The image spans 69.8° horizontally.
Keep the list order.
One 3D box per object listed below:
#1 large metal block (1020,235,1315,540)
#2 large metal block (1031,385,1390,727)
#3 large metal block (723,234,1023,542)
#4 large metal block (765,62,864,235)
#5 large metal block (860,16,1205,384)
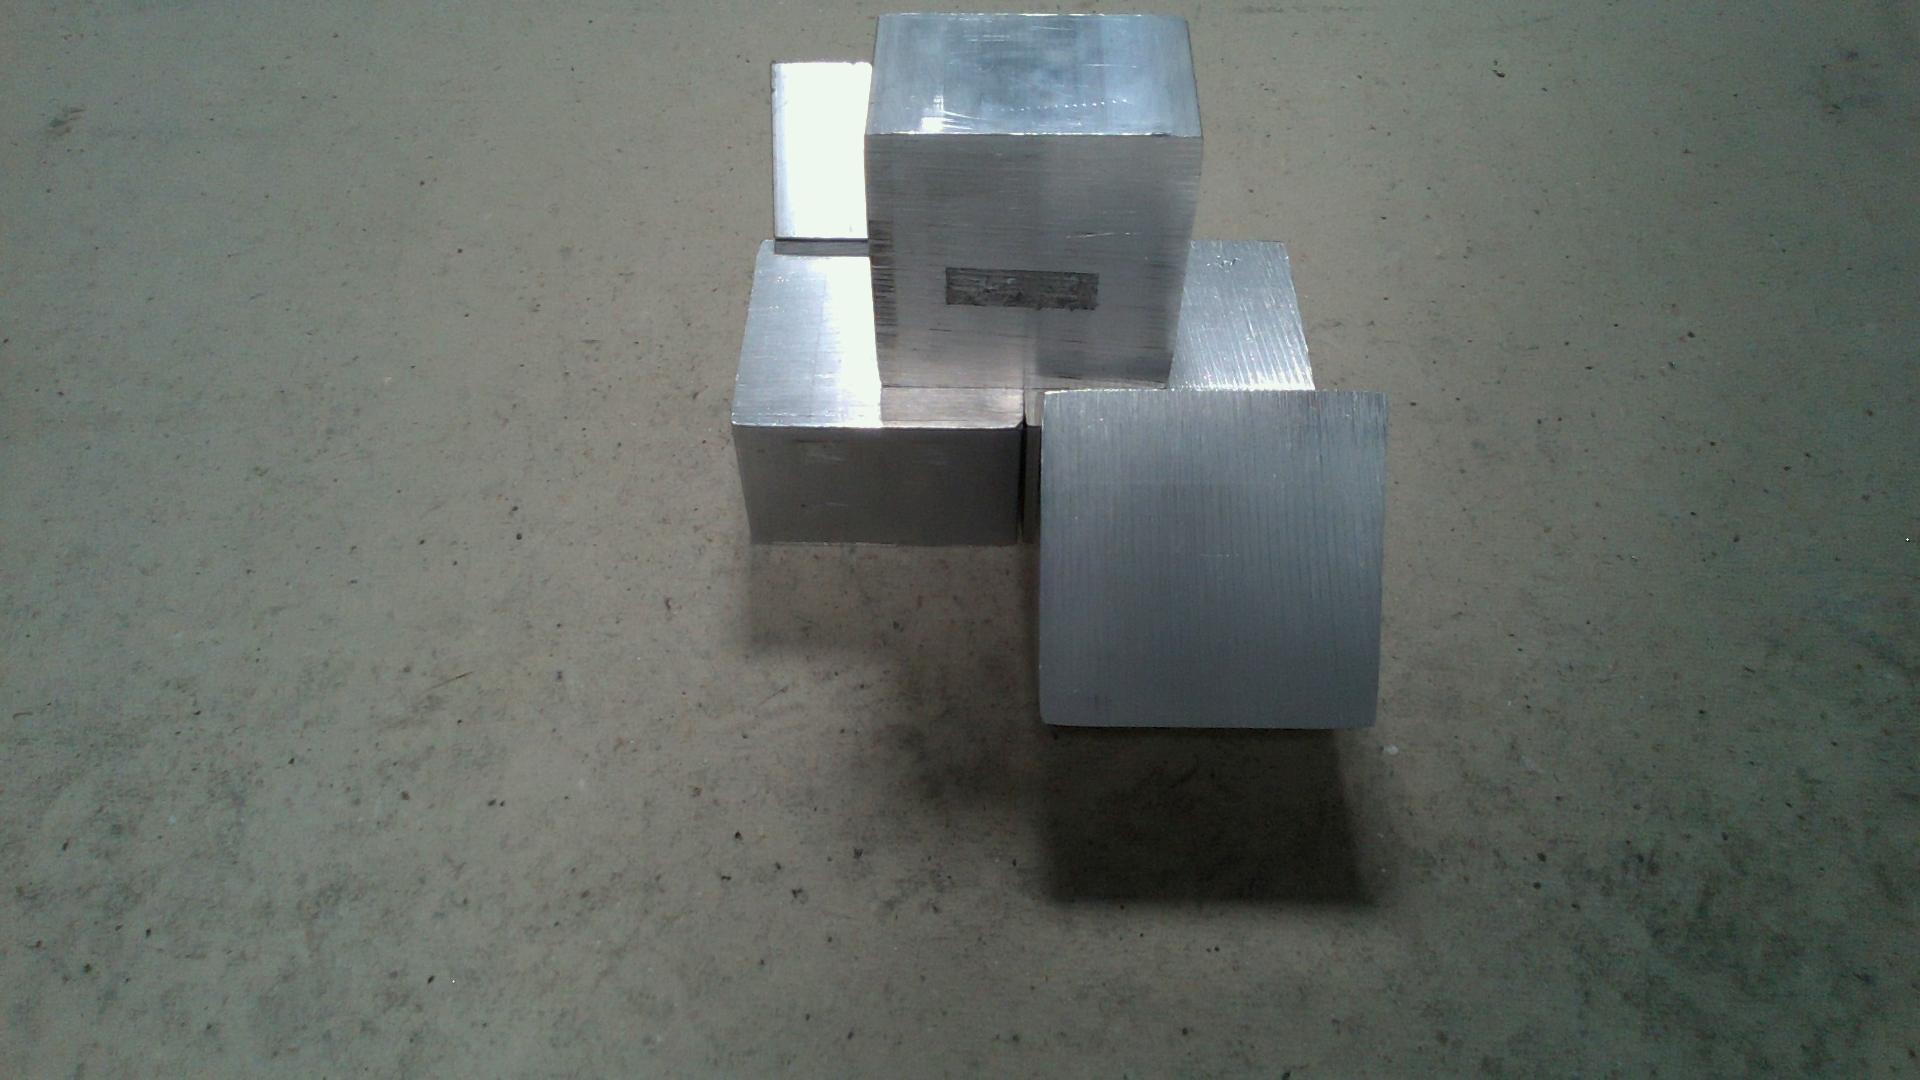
[{"bbox_3d":[0.058,-0.046,0.412,0.080,0.050,0.080,1,50,1],"label":"large metal block"},{"bbox_3d":[0.059,0.002,0.346,0.080,0.080,0.050,0,6,0],"label":"large metal block"},{"bbox_3d":[-0.022,-0.046,0.412,0.080,0.050,0.080,1,50,1],"label":"large metal block"},{"bbox_3d":[-0.017,-0.121,0.451,0.080,0.050,0.080,0,6,1],"label":"large metal block"},{"bbox_3d":[0.018,-0.088,0.365,0.080,0.080,0.050,1,50,1],"label":"large metal block"}]
